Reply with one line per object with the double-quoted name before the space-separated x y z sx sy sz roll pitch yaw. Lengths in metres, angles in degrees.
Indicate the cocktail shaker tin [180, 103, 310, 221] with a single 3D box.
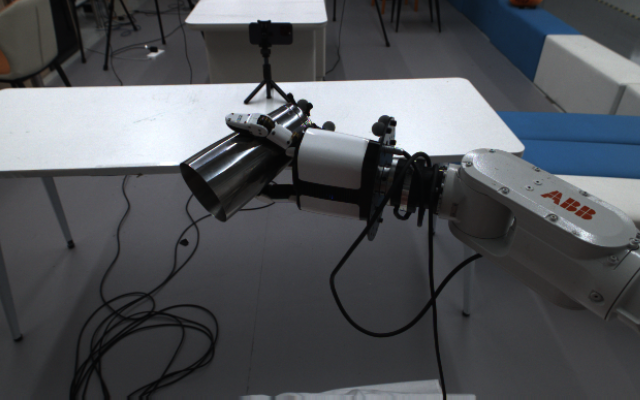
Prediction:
"cocktail shaker tin" -0.088 -0.062 0.643 0.170 0.093 0.093 -38 50 -24
